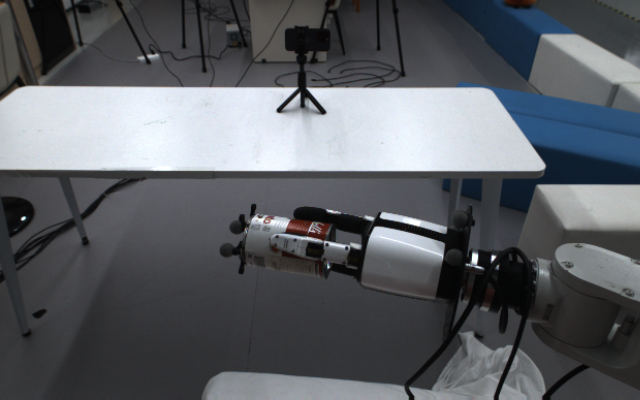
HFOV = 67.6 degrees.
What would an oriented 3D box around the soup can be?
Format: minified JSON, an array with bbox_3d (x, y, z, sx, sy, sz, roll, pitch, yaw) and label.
[{"bbox_3d":[-0.034,0.055,0.594,0.101,0.067,0.067,7,35,11],"label":"soup can"}]
